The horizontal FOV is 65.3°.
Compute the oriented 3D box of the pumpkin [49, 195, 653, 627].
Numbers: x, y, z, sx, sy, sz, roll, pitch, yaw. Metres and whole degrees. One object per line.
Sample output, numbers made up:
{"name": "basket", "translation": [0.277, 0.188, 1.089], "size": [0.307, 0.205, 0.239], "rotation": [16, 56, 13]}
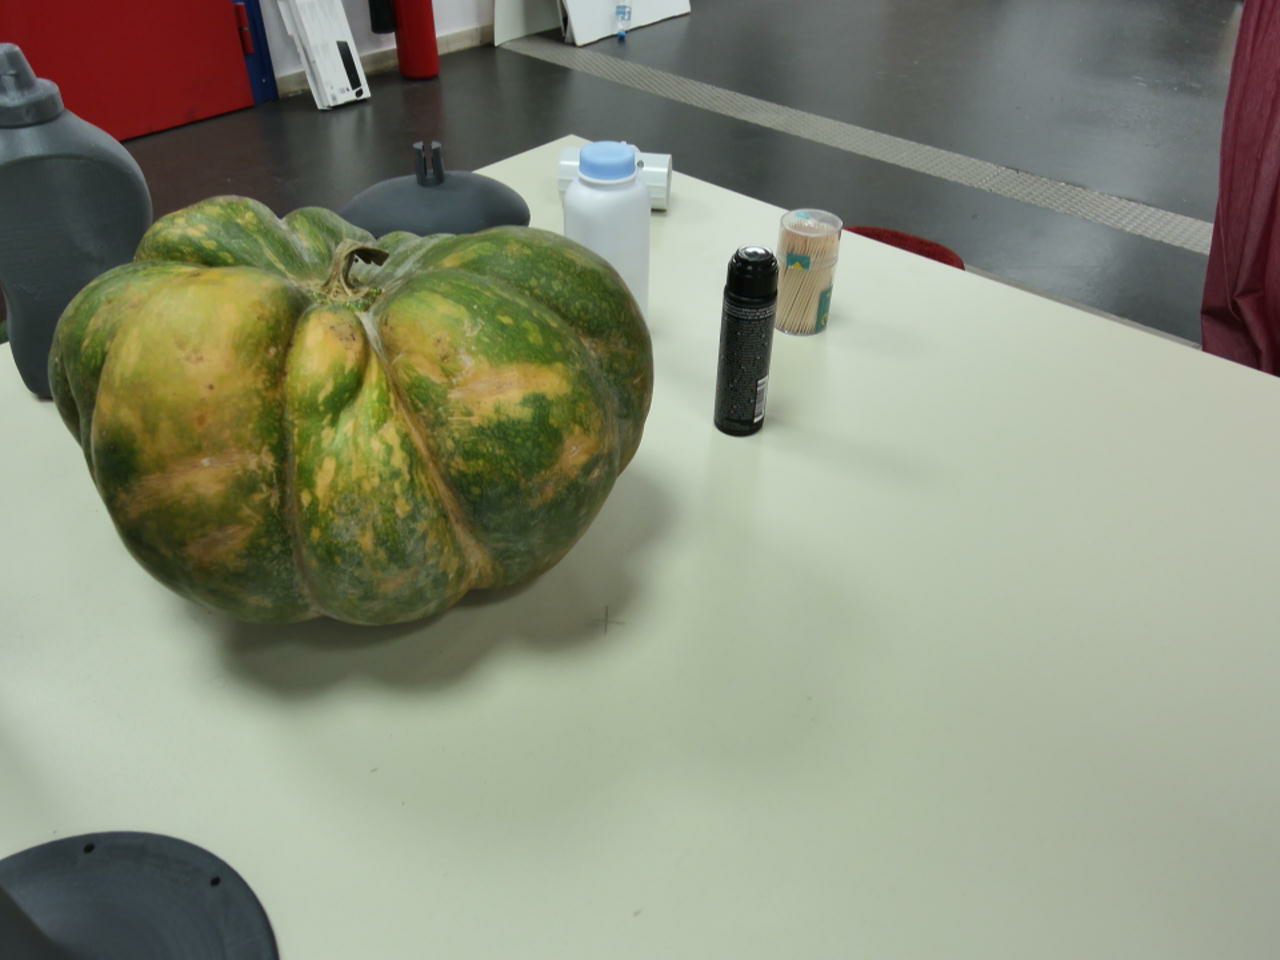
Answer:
{"name": "pumpkin", "translation": [-0.130, -0.041, 0.463], "size": [0.270, 0.173, 0.237], "rotation": [-7, 38, -10]}
